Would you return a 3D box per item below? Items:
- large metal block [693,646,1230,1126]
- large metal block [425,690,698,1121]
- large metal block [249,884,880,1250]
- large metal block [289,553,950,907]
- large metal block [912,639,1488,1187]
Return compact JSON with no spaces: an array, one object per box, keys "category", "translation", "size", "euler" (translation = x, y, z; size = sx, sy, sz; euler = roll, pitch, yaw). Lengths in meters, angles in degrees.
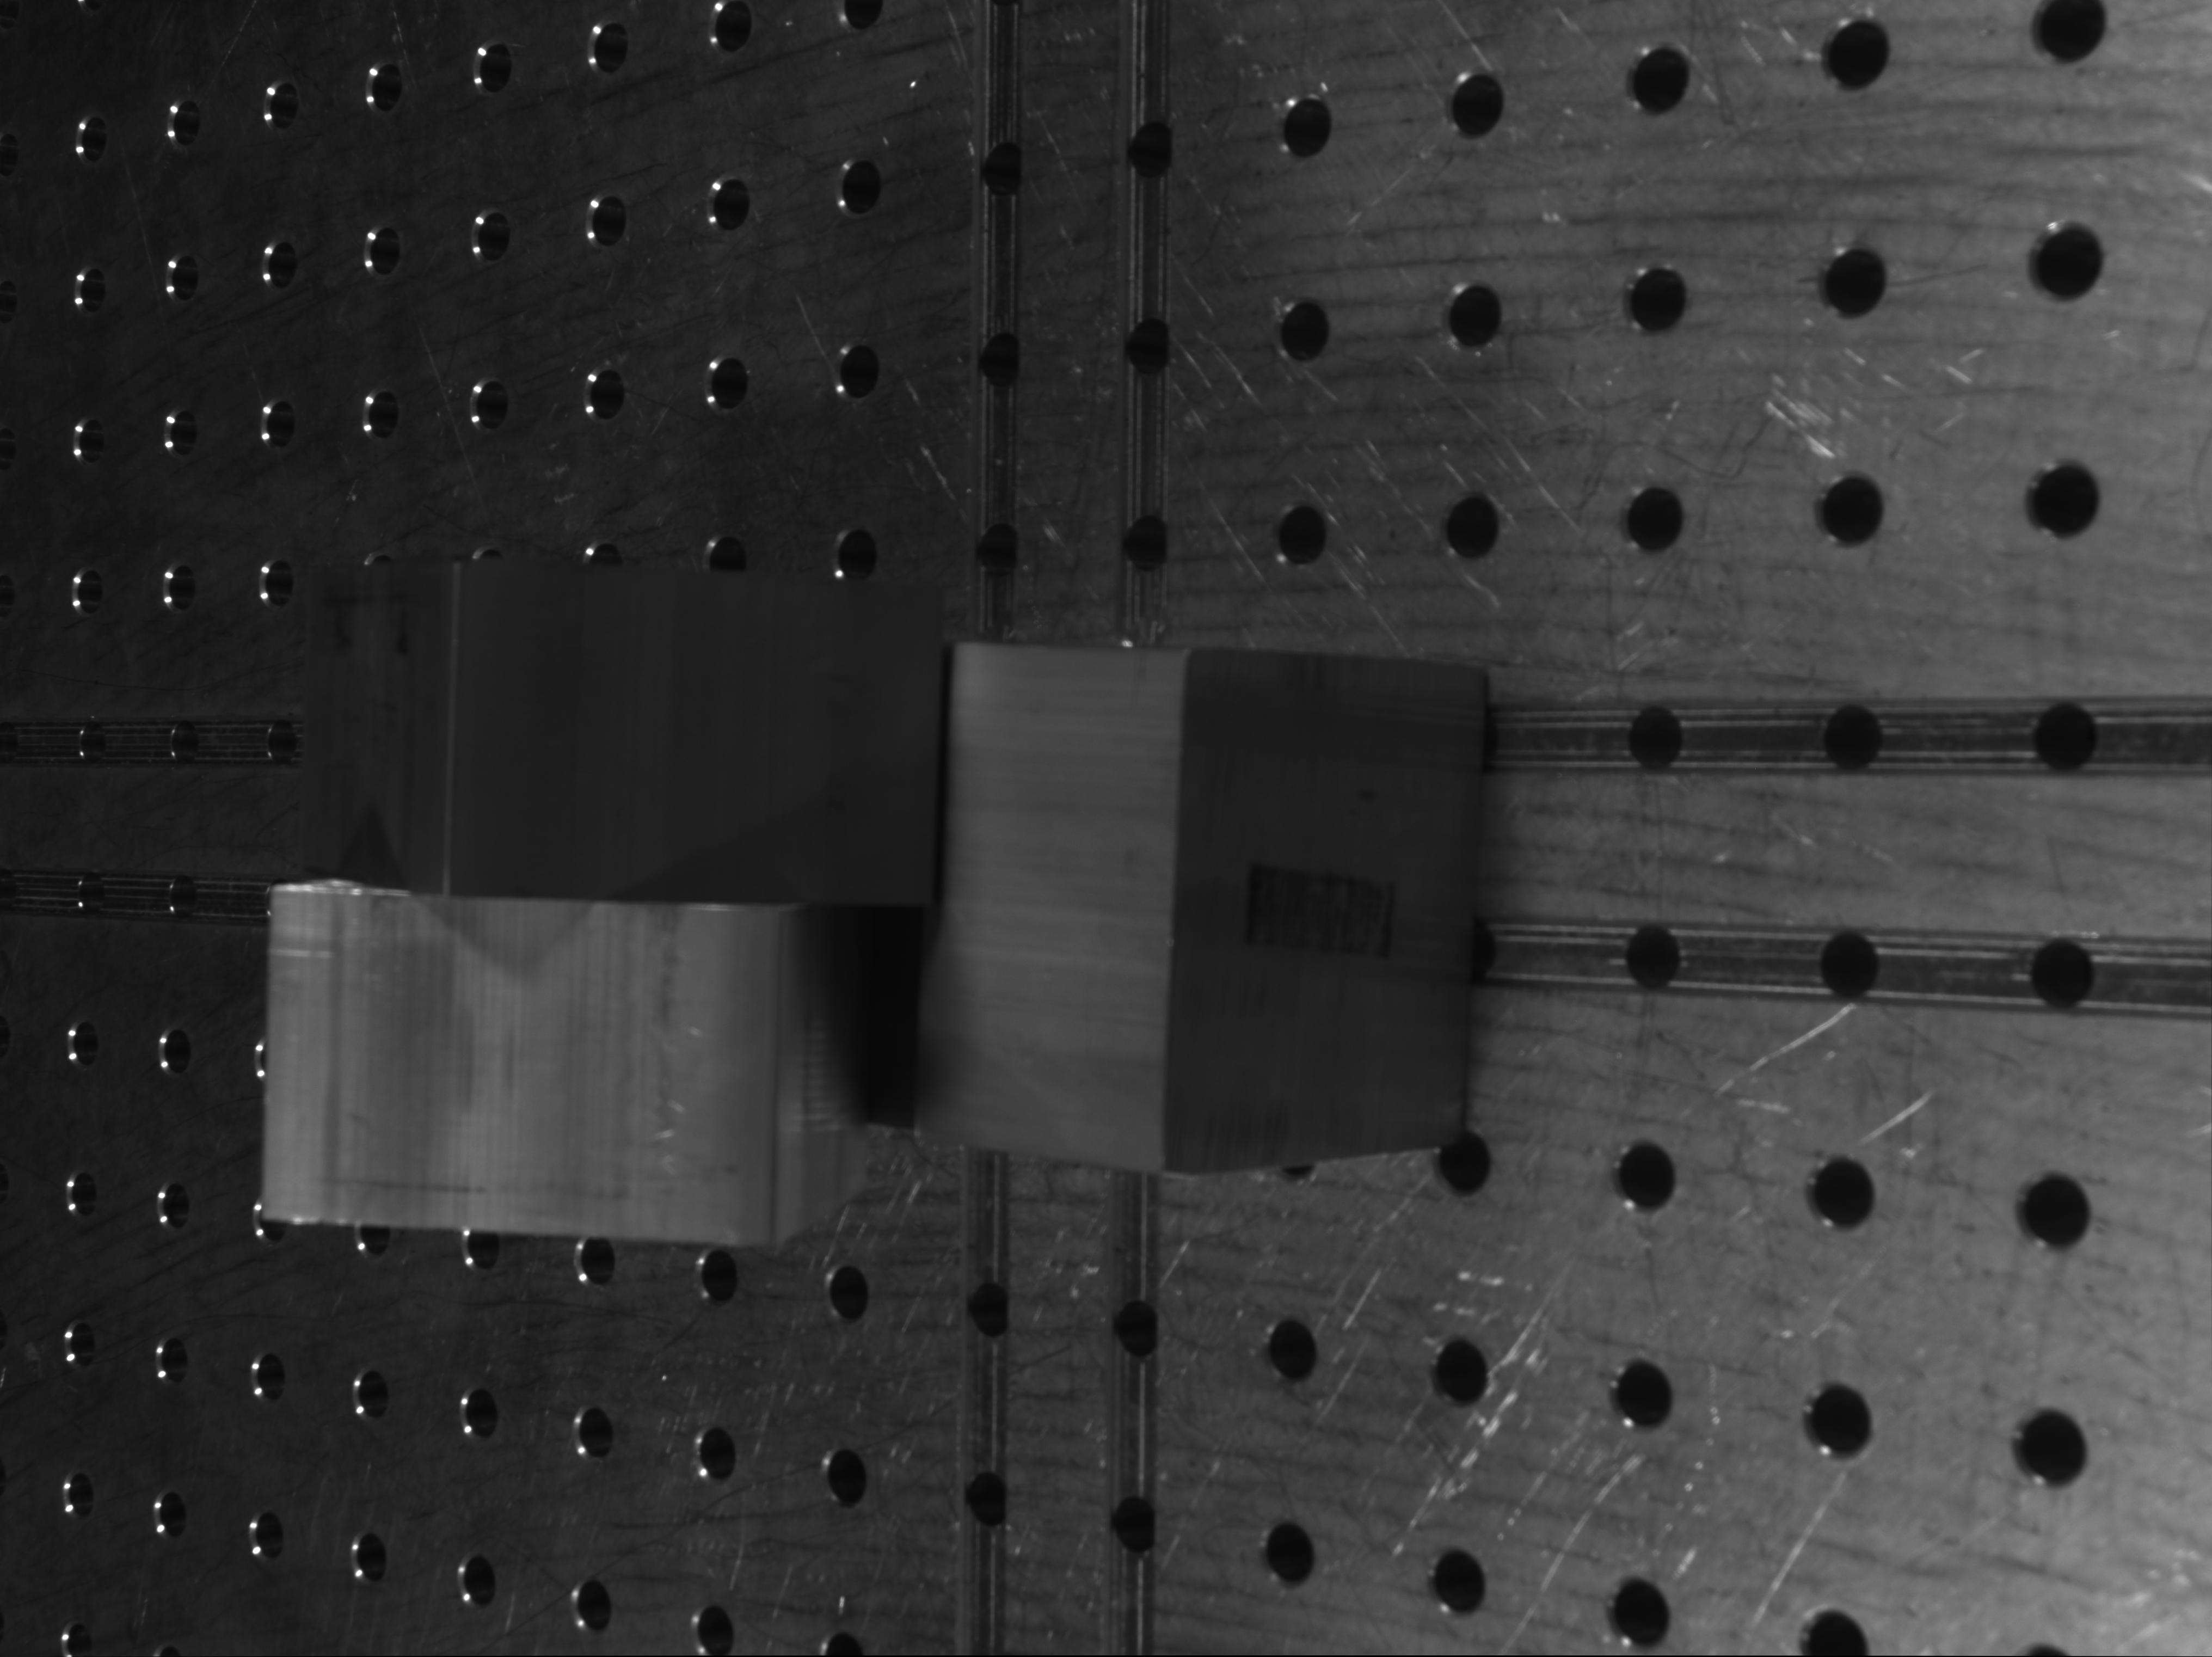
[{"category":"large metal block","translation":[-0.025,0.009,0.641],"size":[0.080,0.050,0.080],"euler":[3,92,39]},{"category":"large metal block","translation":[-0.085,0.010,0.674],"size":[0.050,0.080,0.080],"euler":[2,91,39]},{"category":"large metal block","translation":[-0.083,0.035,0.585],"size":[0.080,0.080,0.050],"euler":[3,91,6]},{"category":"large metal block","translation":[-0.079,-0.015,0.586],"size":[0.080,0.080,0.050],"euler":[5,92,62]},{"category":"large metal block","translation":[0.016,0.012,0.590],"size":[0.050,0.080,0.080],"euler":[5,93,39]}]
